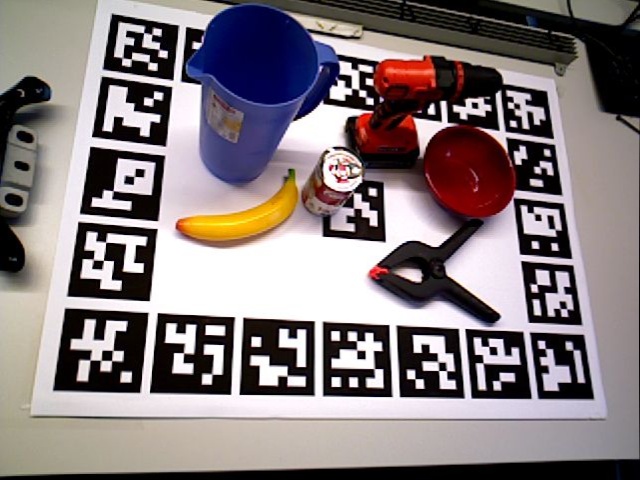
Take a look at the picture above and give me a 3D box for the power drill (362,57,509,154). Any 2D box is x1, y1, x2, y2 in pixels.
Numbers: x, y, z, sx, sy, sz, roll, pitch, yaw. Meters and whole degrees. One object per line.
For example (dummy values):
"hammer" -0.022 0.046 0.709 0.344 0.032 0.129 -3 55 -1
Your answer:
"power drill" 0.150 -0.187 0.760 0.182 0.190 0.057 -1 72 -17

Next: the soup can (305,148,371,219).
"soup can" 0.022 -0.082 0.762 0.067 0.104 0.067 6 62 -13

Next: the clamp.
"clamp" 0.179 0.050 0.790 0.200 0.037 0.165 1 77 -15

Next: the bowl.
"bowl" 0.233 -0.098 0.847 0.160 0.056 0.160 4 74 -14

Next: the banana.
"banana" -0.104 -0.033 0.749 0.194 0.039 0.074 -22 71 -22

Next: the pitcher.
"pitcher" -0.075 -0.172 0.685 0.185 0.247 0.133 -21 76 -21
